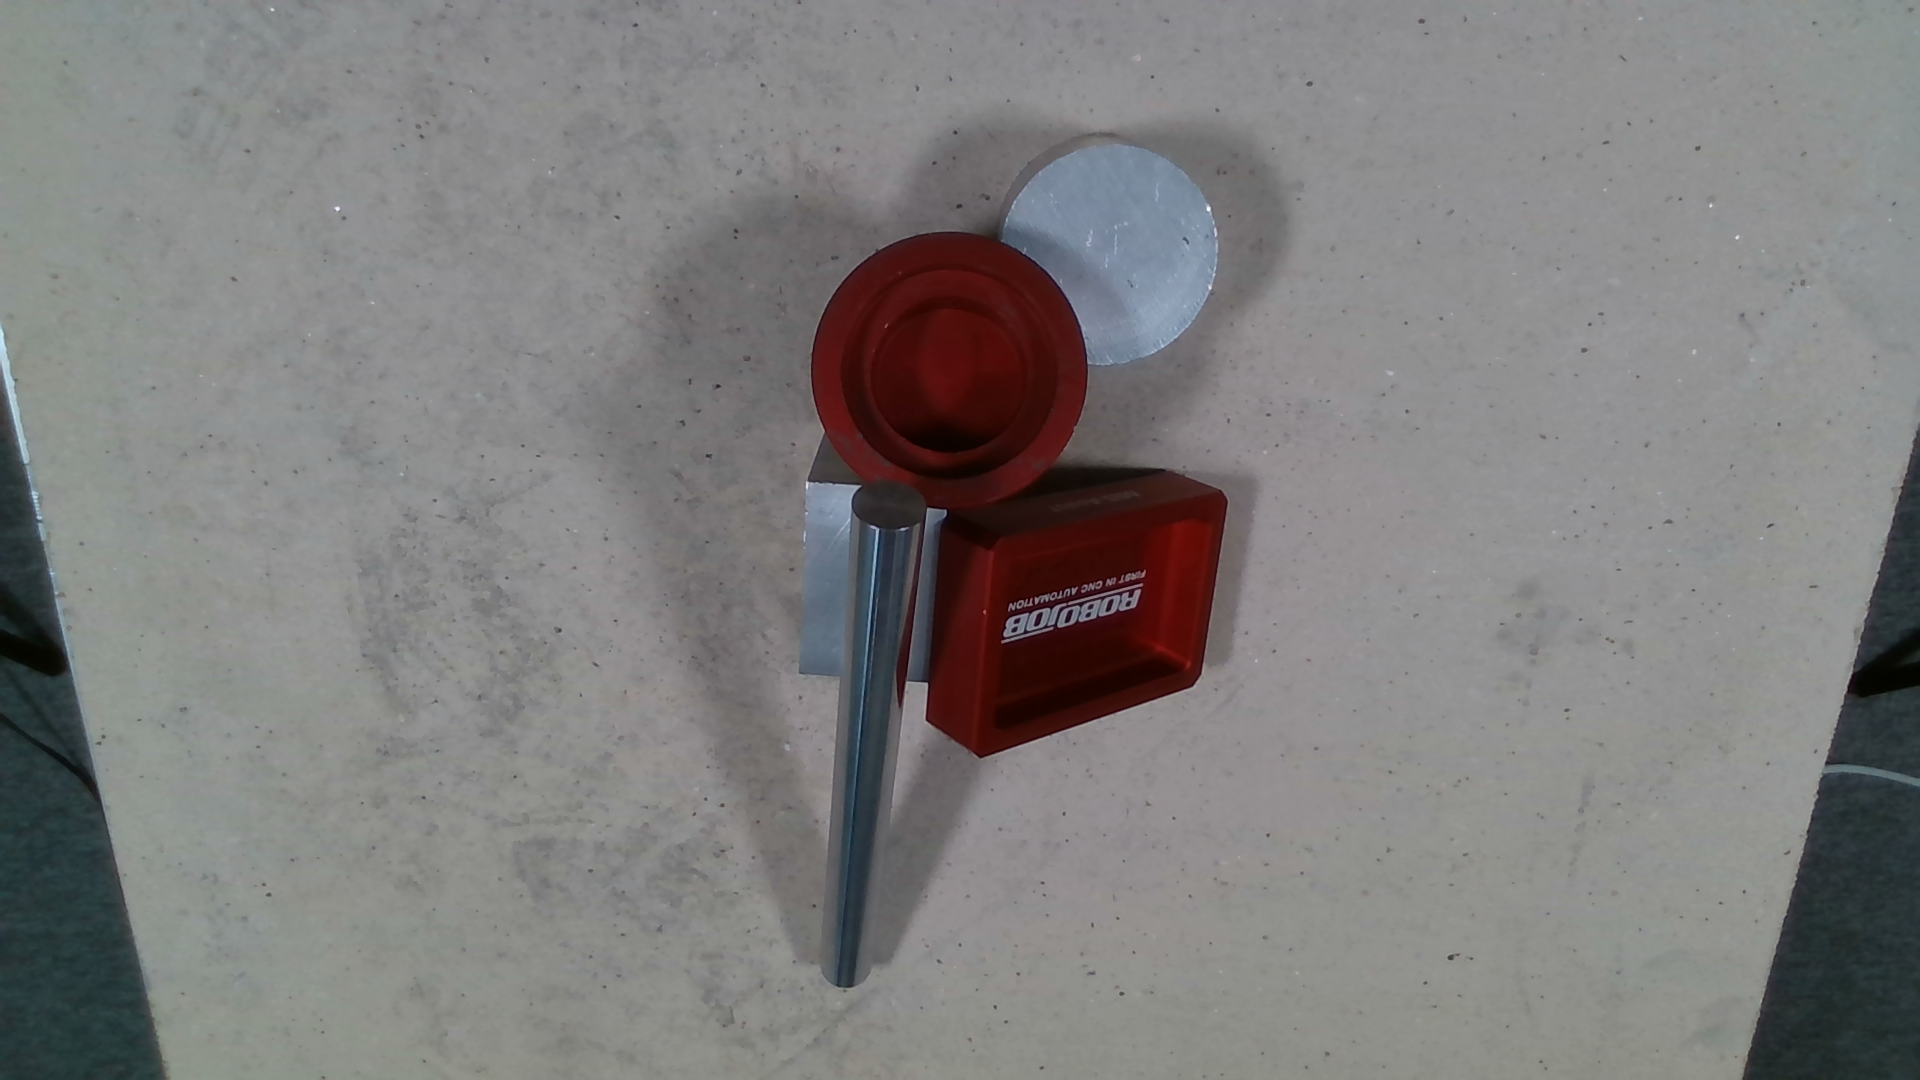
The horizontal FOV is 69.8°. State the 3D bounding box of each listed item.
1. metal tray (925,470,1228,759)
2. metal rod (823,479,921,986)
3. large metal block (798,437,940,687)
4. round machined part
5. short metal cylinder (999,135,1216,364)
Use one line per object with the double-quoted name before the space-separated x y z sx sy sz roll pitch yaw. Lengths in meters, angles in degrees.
"metal tray" 0.049 0.027 0.551 0.130 0.030 0.090 -12 116 -38
"metal rod" -0.039 0.096 0.558 0.025 0.025 0.301 6 134 -2
"large metal block" -0.035 0.004 0.557 0.050 0.080 0.080 4 110 -1
"round machined part" -0.004 -0.061 0.506 0.098 0.042 0.098 0 90 -1
"short metal cylinder" 0.054 -0.113 0.530 0.080 0.050 0.080 0 110 0
